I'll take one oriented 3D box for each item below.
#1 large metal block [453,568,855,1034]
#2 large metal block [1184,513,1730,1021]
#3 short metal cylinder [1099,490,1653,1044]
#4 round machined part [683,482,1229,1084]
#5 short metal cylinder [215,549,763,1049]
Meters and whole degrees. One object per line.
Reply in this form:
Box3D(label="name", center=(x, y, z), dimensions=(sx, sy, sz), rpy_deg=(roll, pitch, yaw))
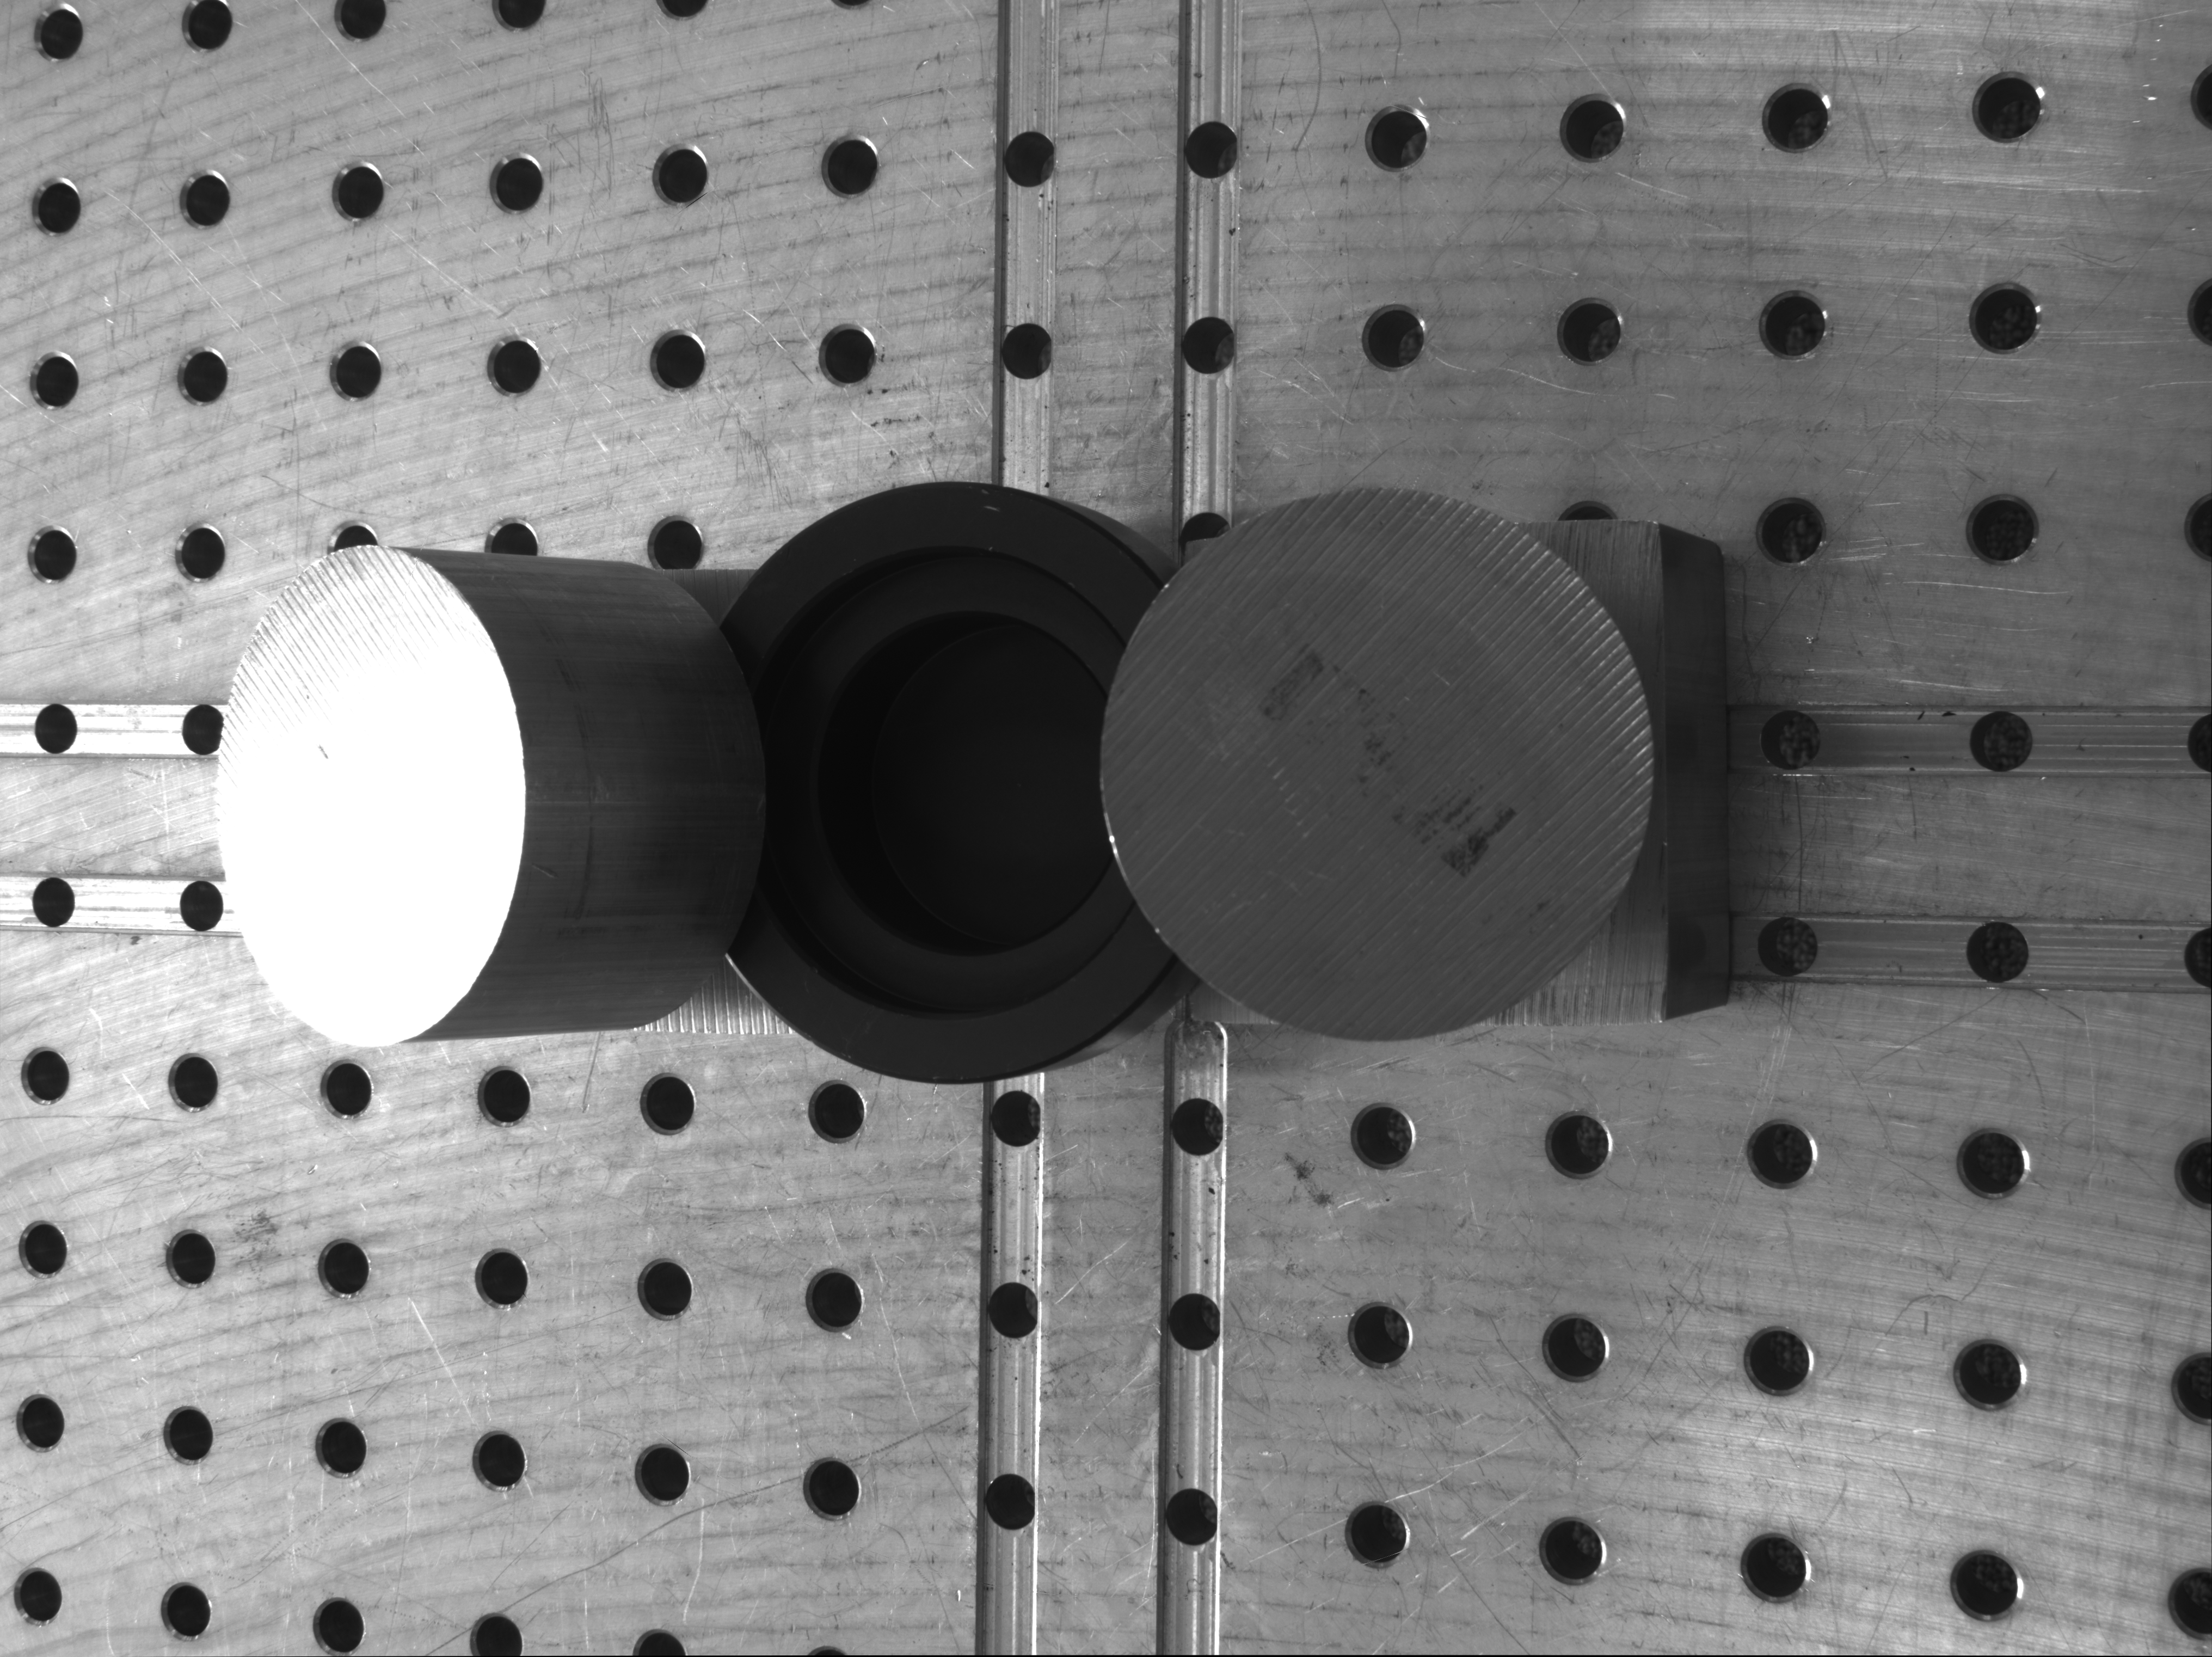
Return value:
Box3D(label="large metal block", center=(-0.080, -0.005, 0.664), dimensions=(0.080, 0.050, 0.080), rpy_deg=(1, 90, 20))
Box3D(label="large metal block", center=(0.060, -0.009, 0.614), dimensions=(0.080, 0.050, 0.080), rpy_deg=(-1, 90, 20))
Box3D(label="short metal cylinder", center=(0.039, -0.009, 0.554), dimensions=(0.080, 0.050, 0.080), rpy_deg=(0, 89, 0))
Box3D(label="round machined part", center=(-0.019, -0.007, 0.615), dimensions=(0.098, 0.042, 0.098), rpy_deg=(0, 90, 20))
Box3D(label="short metal cylinder", center=(-0.102, -0.005, 0.605), dimensions=(0.080, 0.050, 0.080), rpy_deg=(1, 91, 41))
